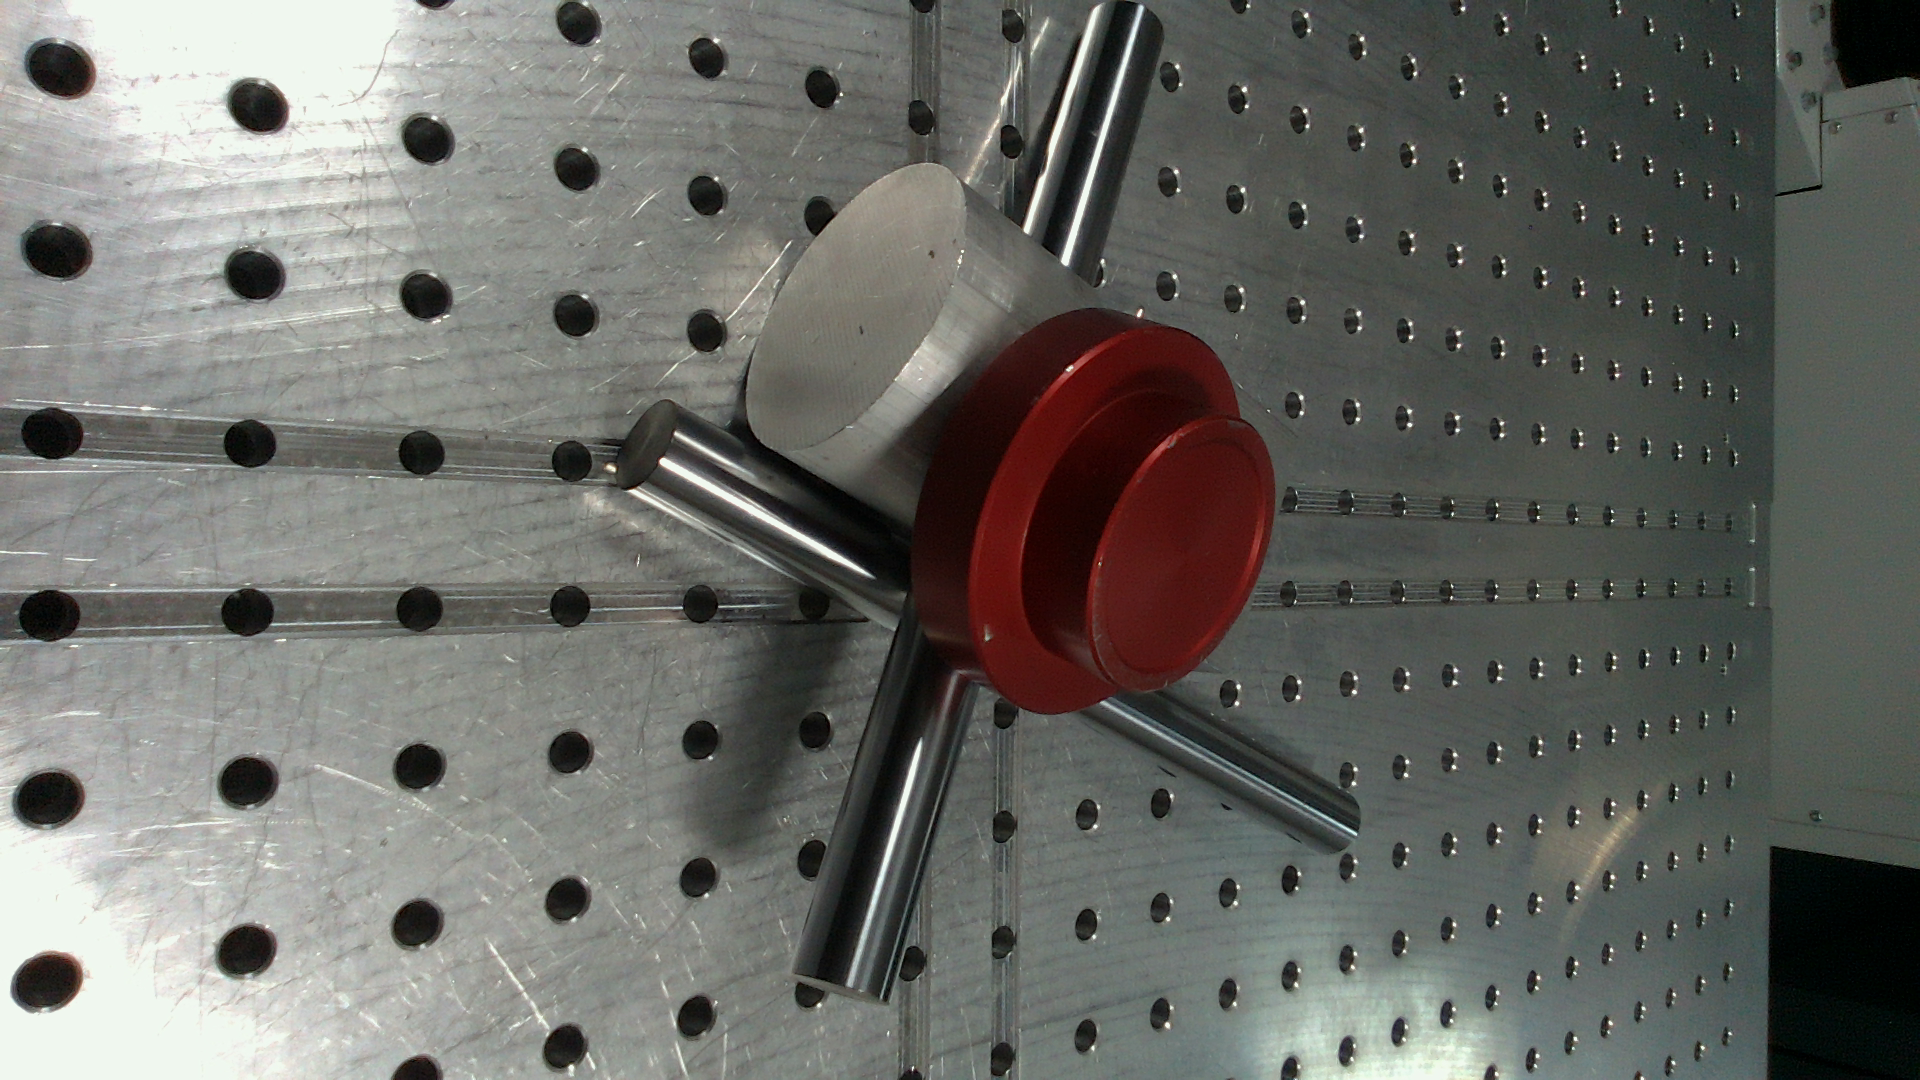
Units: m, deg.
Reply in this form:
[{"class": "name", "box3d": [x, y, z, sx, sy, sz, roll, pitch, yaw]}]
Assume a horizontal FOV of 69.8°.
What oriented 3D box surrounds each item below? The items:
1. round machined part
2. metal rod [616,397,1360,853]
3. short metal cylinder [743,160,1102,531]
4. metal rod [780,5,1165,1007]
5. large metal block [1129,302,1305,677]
[{"class": "round machined part", "box3d": [0.038, -0.003, 0.328, 0.098, 0.042, 0.098, -24, 126, -37]}, {"class": "metal rod", "box3d": [0.030, 0.040, 0.416, 0.301, 0.025, 0.025, 31, 71, -36]}, {"class": "short metal cylinder", "box3d": [-0.010, -0.047, 0.347, 0.050, 0.080, 0.080, 31, 71, -35]}, {"class": "metal rod", "box3d": [0.012, -0.028, 0.376, 0.025, 0.025, 0.300, 34, 61, -34]}, {"class": "large metal block", "box3d": [0.050, -0.013, 0.413, 0.080, 0.050, 0.080, 32, 70, -35]}]
